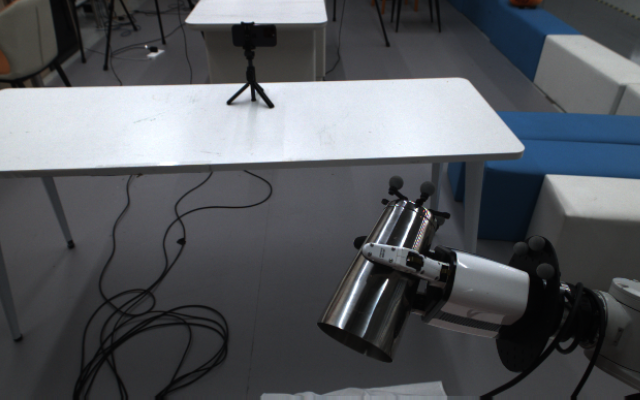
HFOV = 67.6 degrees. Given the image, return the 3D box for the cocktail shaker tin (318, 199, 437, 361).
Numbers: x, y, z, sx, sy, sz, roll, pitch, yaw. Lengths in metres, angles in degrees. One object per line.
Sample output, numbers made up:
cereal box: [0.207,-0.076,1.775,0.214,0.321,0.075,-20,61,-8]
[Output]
cocktail shaker tin: [0.079,0.085,0.558,0.093,0.093,0.170,17,66,21]
